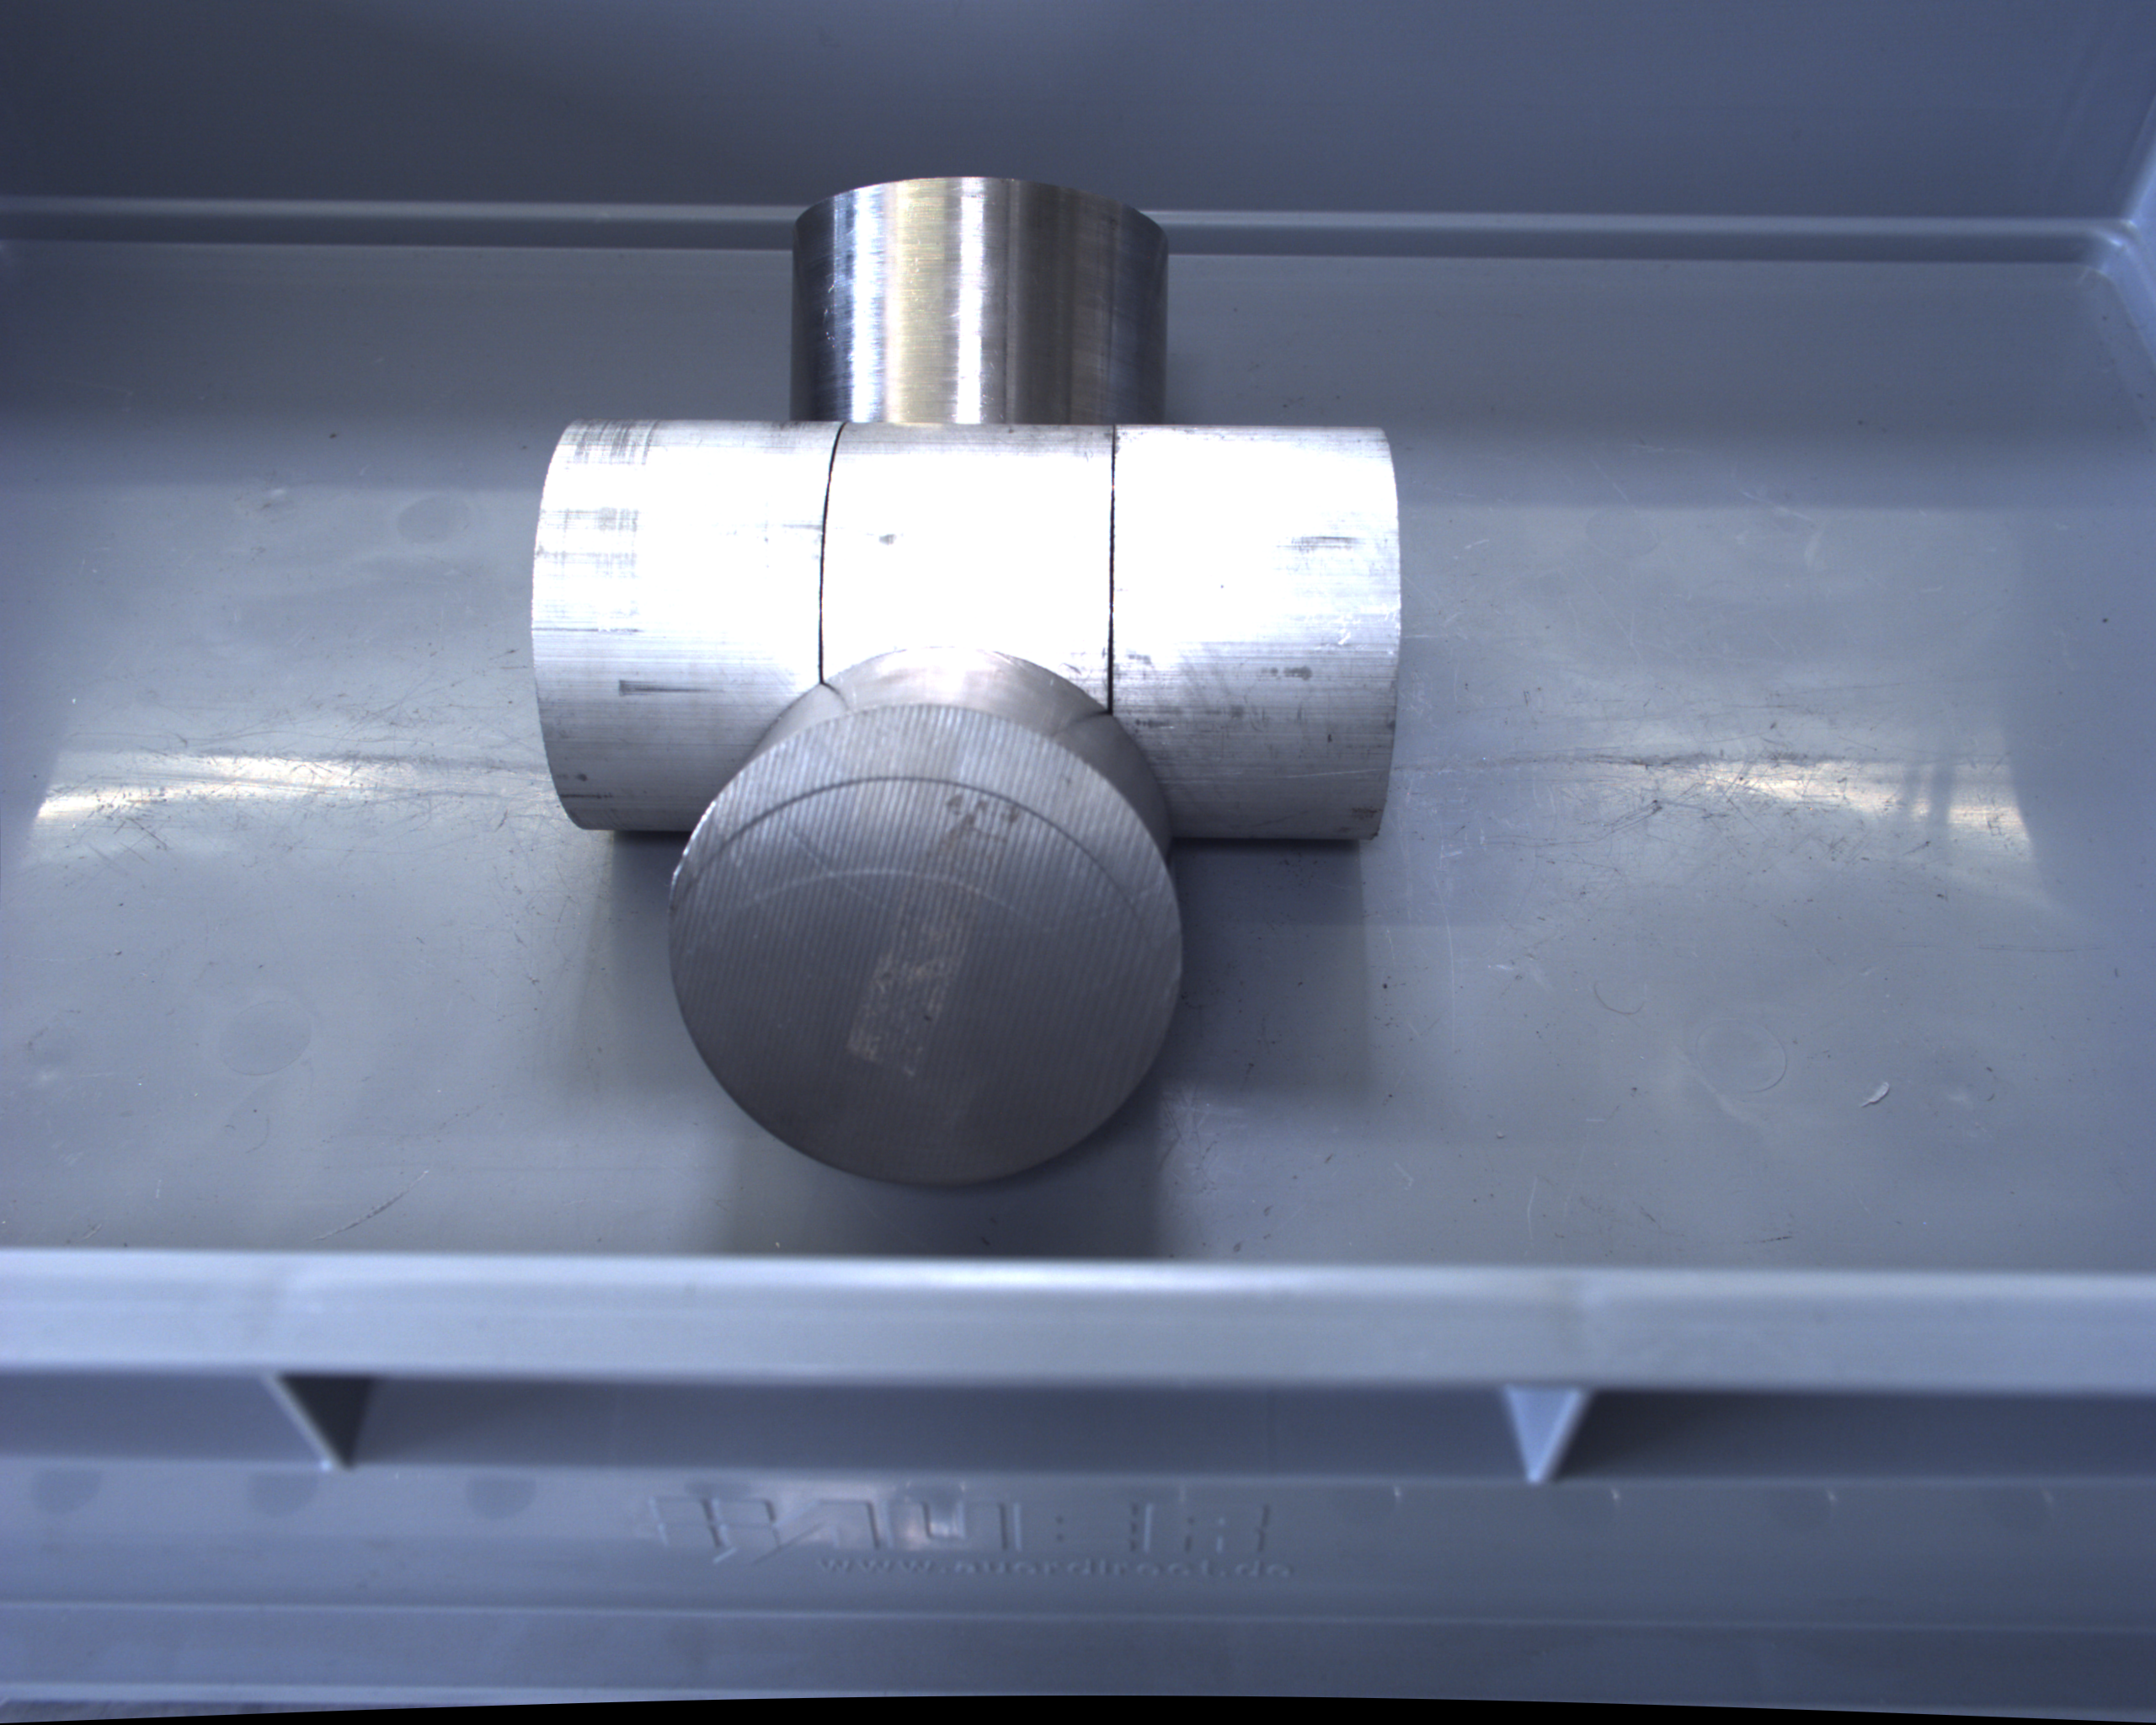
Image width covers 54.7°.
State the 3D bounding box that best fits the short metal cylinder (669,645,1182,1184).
[{"bbox_3d":[-0.024,0.007,0.352,0.080,0.079,0.050,0,16,0],"label":"short metal cylinder"}]

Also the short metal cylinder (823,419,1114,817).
[{"bbox_3d":[-0.019,-0.045,0.405,0.050,0.080,0.080,1,50,1],"label":"short metal cylinder"}]

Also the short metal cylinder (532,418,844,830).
[{"bbox_3d":[-0.070,-0.046,0.405,0.050,0.080,0.080,1,50,1],"label":"short metal cylinder"}]

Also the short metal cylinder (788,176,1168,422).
[{"bbox_3d":[-0.021,-0.109,0.449,0.080,0.080,0.050,1,88,1],"label":"short metal cylinder"}]

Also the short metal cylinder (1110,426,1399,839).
[{"bbox_3d":[0.032,-0.045,0.405,0.050,0.080,0.080,1,50,1],"label":"short metal cylinder"}]
